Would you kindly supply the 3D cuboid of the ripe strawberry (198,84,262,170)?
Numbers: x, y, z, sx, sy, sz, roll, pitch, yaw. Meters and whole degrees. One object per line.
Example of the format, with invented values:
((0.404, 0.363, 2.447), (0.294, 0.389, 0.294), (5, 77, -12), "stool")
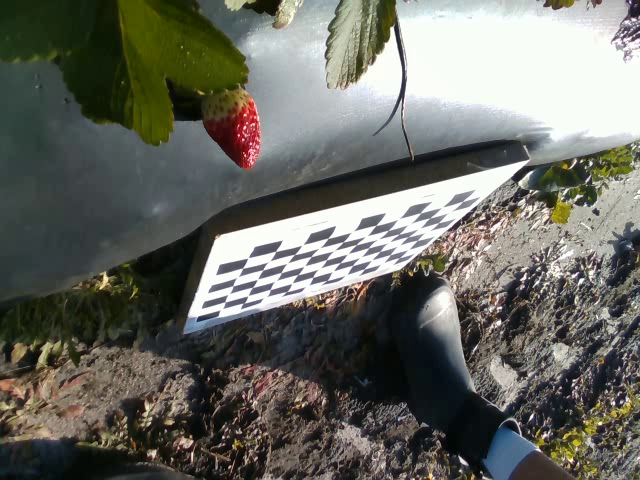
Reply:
((-0.036, -0.047, 0.262), (0.028, 0.041, 0.031), (-21, 17, 1), "ripe strawberry")
